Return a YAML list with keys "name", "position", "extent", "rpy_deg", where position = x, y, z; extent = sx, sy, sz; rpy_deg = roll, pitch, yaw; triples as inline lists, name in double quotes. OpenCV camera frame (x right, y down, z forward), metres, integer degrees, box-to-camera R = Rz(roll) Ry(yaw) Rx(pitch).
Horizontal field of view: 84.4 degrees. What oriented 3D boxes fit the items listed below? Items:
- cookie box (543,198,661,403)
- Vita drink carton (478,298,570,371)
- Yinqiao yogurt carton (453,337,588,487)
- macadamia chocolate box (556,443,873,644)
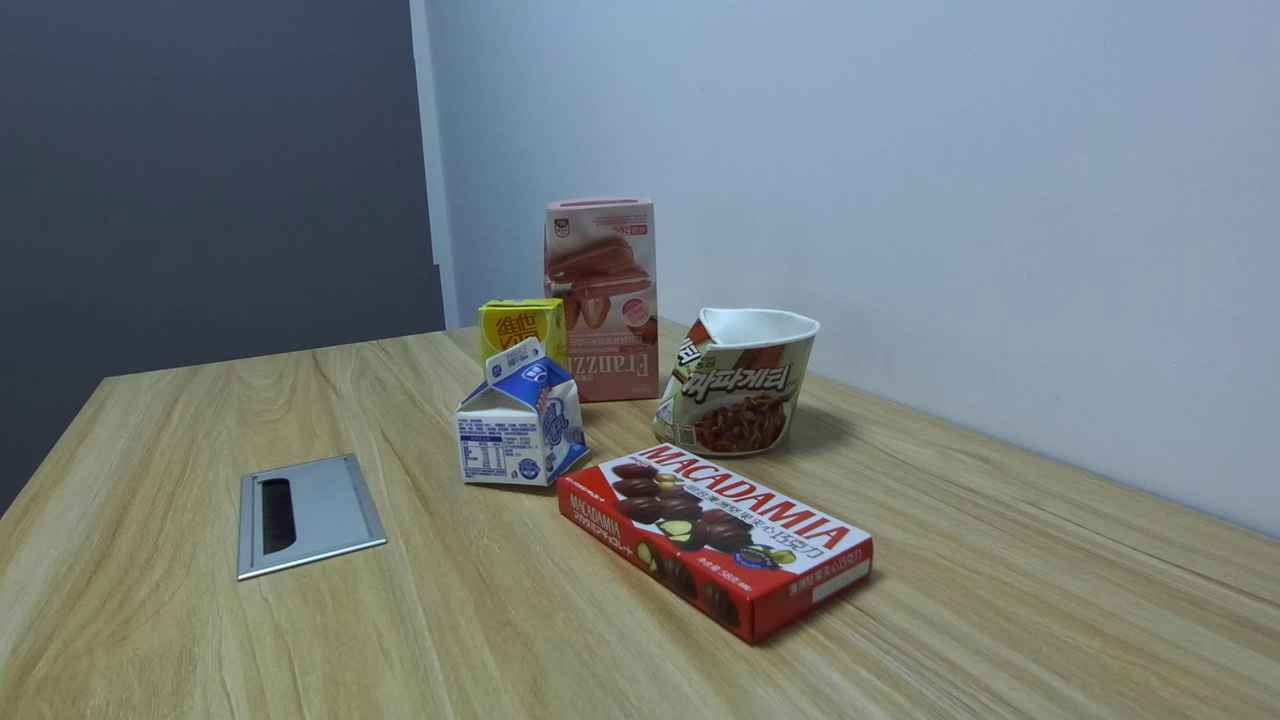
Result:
- name: "cookie box"
  position: [-0.037, -0.054, 0.661]
  extent: [0.105, 0.187, 0.049]
  rpy_deg: [-3, 17, -1]
- name: "Vita drink carton"
  position: [-0.098, 0.004, 0.610]
  extent: [0.066, 0.109, 0.043]
  rpy_deg: [0, 16, 6]
- name: "Yinqiao yogurt carton"
  position: [-0.086, 0.037, 0.521]
  extent: [0.071, 0.094, 0.077]
  rpy_deg: [-1, 15, 24]
- name: "macadamia chocolate box"
  position: [0.036, 0.097, 0.420]
  extent: [0.096, 0.027, 0.177]
  rpy_deg: [-12, 19, -35]
